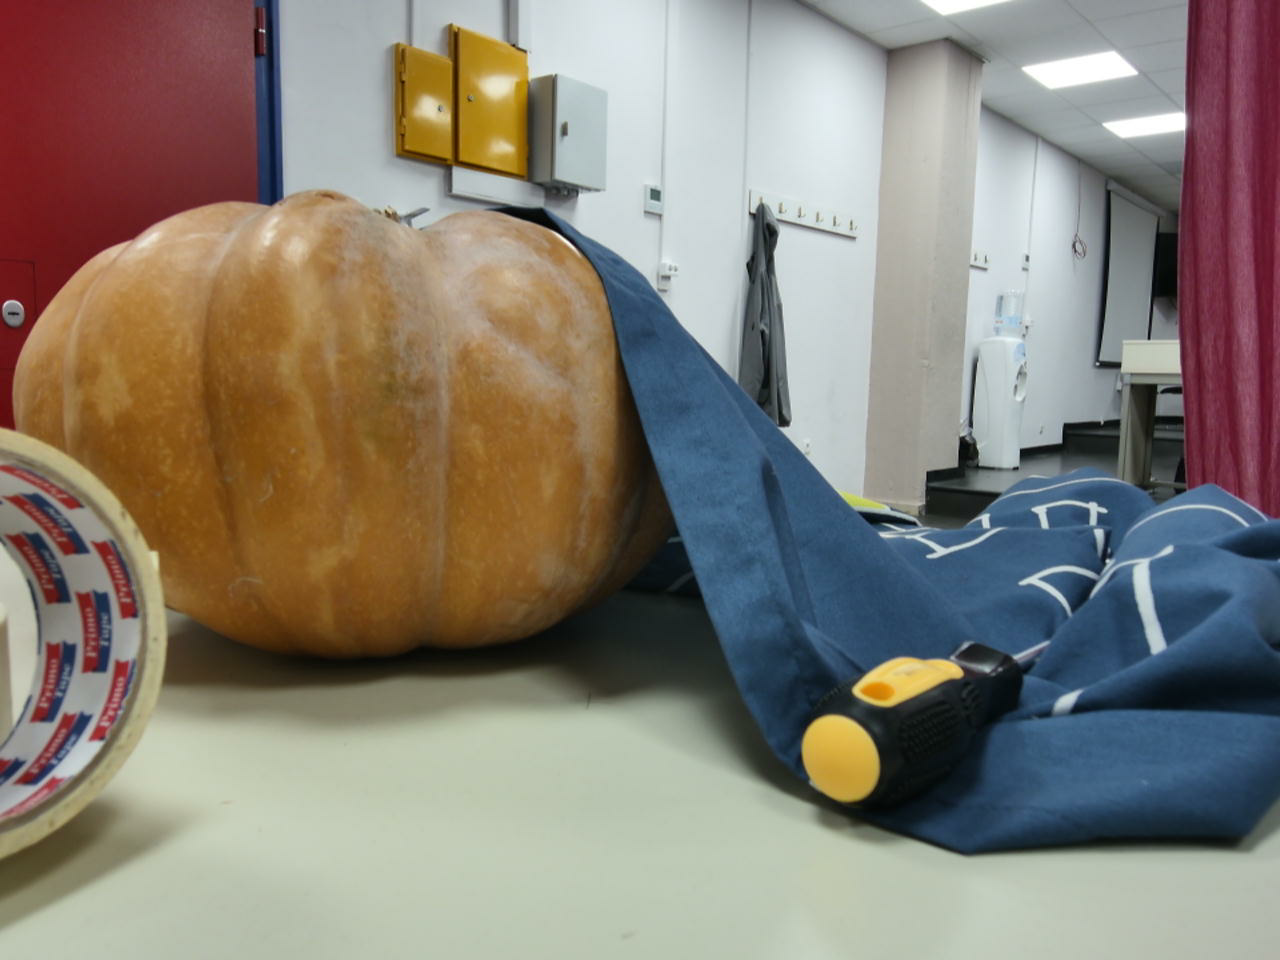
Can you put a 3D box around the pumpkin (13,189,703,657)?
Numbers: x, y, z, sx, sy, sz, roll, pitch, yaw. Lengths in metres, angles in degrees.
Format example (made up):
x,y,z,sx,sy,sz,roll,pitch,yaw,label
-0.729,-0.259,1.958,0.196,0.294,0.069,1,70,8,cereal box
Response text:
x,y,z,sx,sy,sz,roll,pitch,yaw,label
-0.112,-0.023,0.429,0.277,0.181,0.277,0,4,0,pumpkin
